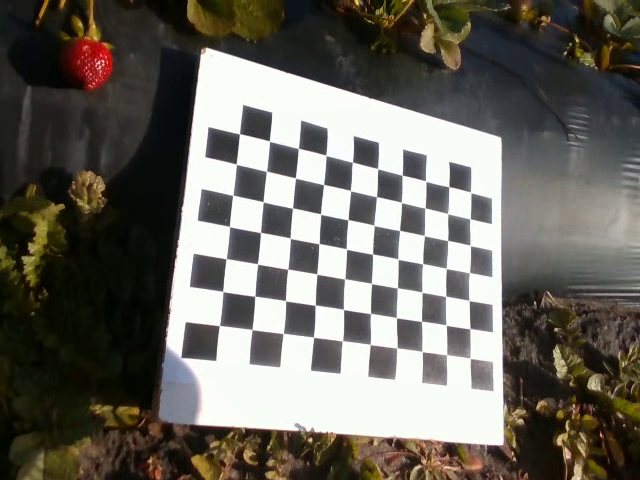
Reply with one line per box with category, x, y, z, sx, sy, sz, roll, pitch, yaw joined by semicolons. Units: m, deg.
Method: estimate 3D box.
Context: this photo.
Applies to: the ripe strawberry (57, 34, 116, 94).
ripe strawberry;-0.152;-0.112;0.452;0.040;0.044;0.037;-10;-20;-28
